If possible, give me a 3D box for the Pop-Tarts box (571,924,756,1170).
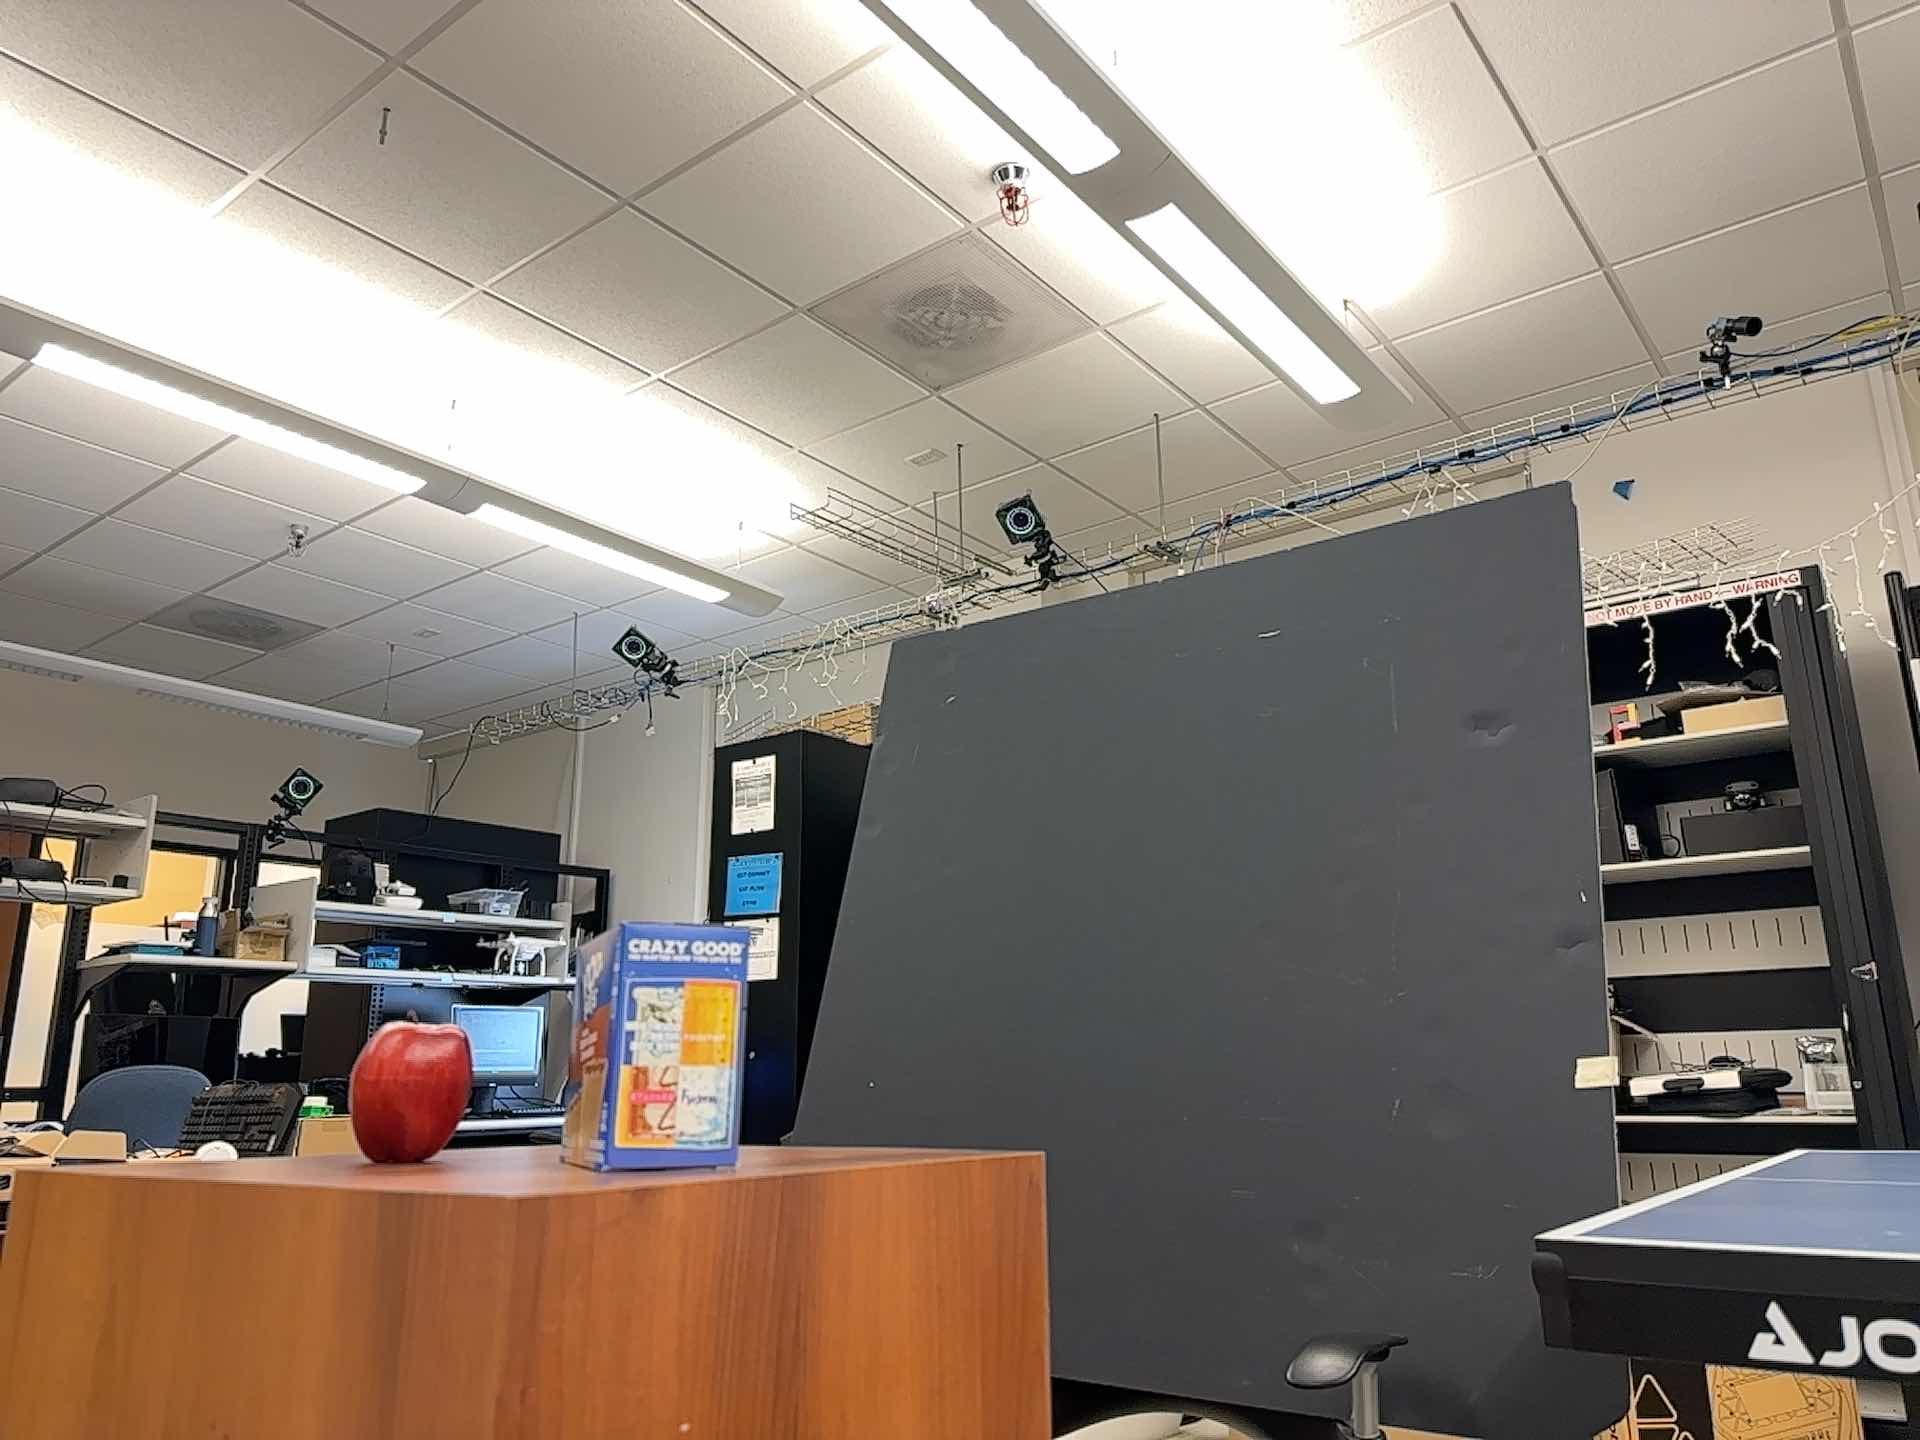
[{"bbox_3d":[-0.193,0.211,0.860,0.075,0.135,0.161,7,-17,-23],"label":"Pop-Tarts box"}]

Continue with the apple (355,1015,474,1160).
[{"bbox_3d":[-0.370,0.247,0.909,0.079,0.093,0.079,-1,-14,0],"label":"apple"}]
